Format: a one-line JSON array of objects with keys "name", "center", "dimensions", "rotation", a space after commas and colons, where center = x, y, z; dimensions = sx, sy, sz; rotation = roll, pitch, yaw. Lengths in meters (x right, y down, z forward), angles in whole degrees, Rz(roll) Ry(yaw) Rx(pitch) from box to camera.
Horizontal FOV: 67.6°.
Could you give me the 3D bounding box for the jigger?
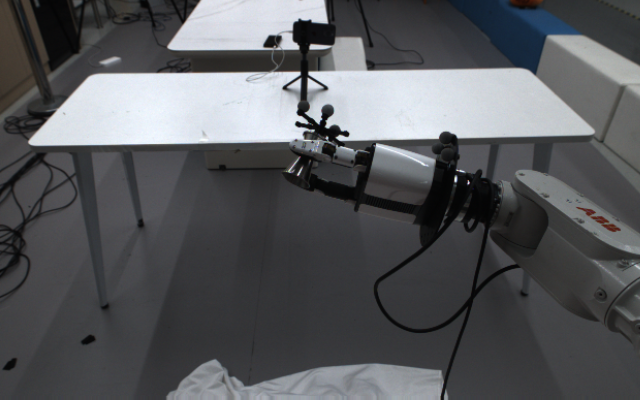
[{"name": "jigger", "center": [-0.020, -0.058, 0.663], "dimensions": [0.043, 0.043, 0.071], "rotation": [20, 73, 24]}]
